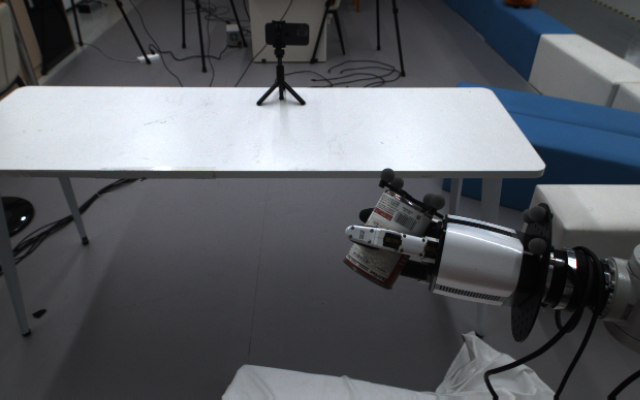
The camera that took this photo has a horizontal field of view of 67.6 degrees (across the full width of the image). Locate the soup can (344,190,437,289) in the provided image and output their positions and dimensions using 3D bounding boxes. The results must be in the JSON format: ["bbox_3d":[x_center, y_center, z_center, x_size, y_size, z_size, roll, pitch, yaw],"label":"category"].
[{"bbox_3d":[0.084,0.047,0.585,0.067,0.101,0.067,30,2,-1],"label":"soup can"}]
